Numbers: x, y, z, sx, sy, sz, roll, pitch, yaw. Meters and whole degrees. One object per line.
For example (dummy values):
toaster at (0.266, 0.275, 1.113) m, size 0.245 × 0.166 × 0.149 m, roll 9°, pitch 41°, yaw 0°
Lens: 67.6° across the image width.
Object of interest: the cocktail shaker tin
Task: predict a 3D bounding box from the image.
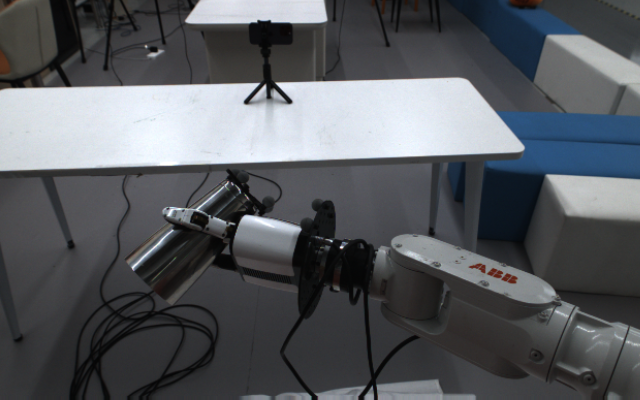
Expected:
cocktail shaker tin at (-0.171, 0.048, 0.671) m, size 0.170 × 0.093 × 0.093 m, roll -43°, pitch 50°, yaw -14°
